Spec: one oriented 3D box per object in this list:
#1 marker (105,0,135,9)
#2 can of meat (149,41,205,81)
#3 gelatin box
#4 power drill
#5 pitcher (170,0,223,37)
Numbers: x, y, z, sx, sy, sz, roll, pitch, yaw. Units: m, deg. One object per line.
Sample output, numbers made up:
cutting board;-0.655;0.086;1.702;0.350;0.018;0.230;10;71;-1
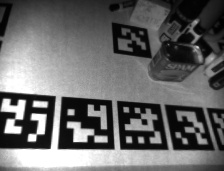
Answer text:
marker;0.032;-0.233;0.597;0.122;0.019;0.019;-27;74;-28
can of meat;0.147;-0.053;0.503;0.103;0.083;0.057;0;61;-19
gelatin box;0.097;-0.195;0.571;0.090;0.073;0.030;11;64;-14
power drill;0.216;-0.131;0.513;0.187;0.183;0.057;34;61;-6
pitcher;0.255;-0.232;0.554;0.188;0.242;0.133;26;61;4
